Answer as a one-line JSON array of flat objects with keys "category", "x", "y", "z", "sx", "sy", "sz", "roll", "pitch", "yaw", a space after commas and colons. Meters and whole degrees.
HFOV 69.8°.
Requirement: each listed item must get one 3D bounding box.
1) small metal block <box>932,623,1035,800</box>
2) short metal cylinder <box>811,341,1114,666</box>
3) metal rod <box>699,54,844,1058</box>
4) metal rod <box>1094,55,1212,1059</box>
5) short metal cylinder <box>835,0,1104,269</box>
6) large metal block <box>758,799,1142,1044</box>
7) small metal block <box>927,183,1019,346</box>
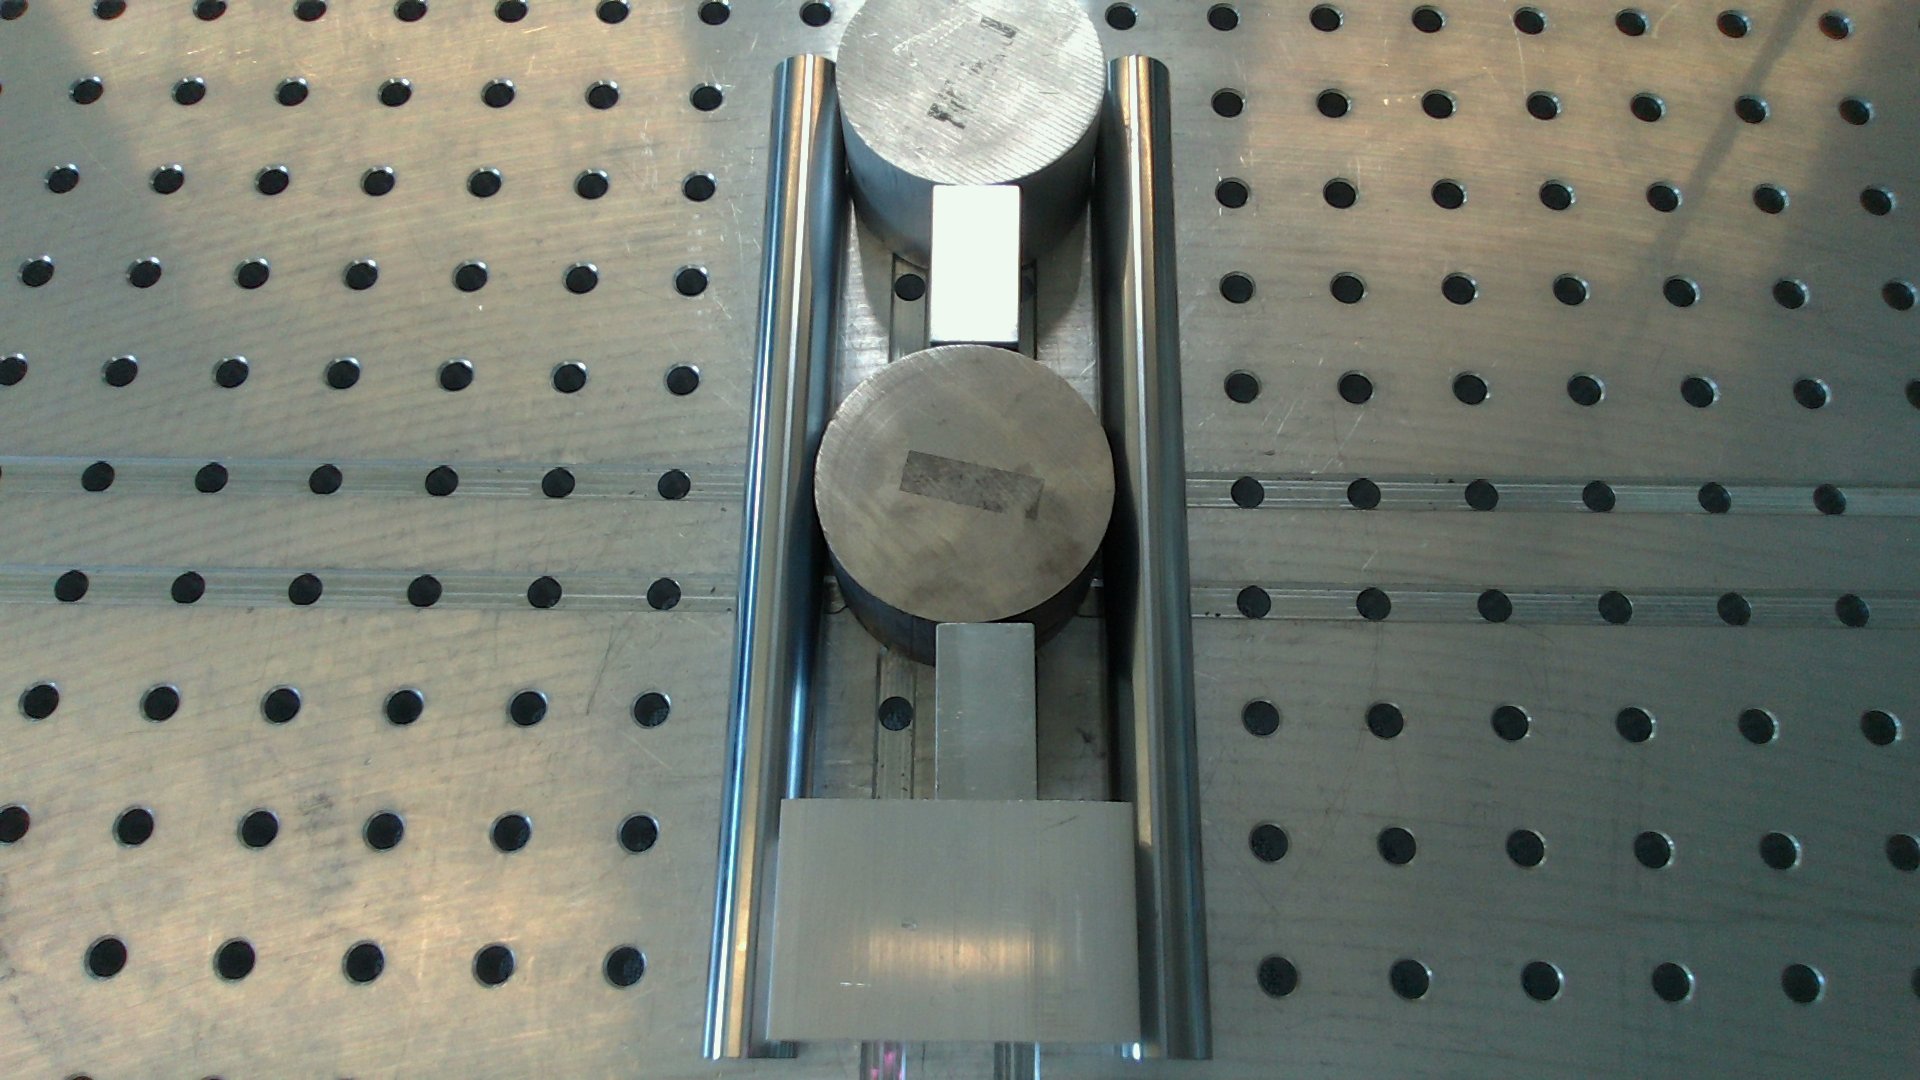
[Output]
[{"category": "small metal block", "x": 0.006, "y": 0.053, "z": 0.363, "sx": 0.025, "sy": 0.050, "sz": 0.050, "roll": 0, "pitch": 70, "yaw": 0}, {"category": "short metal cylinder", "x": 0.001, "y": -0.008, "z": 0.387, "sx": 0.080, "sy": 0.050, "sz": 0.080, "roll": 0, "pitch": 70, "yaw": 0}, {"category": "metal rod", "x": -0.051, "y": -0.010, "z": 0.400, "sx": 0.025, "sy": 0.025, "sz": 0.300, "roll": 1, "pitch": 70, "yaw": 0}, {"category": "metal rod", "x": 0.054, "y": -0.010, "z": 0.400, "sx": 0.025, "sy": 0.025, "sz": 0.300, "roll": 1, "pitch": 70, "yaw": 0}, {"category": "short metal cylinder", "x": 0.003, "y": -0.131, "z": 0.431, "sx": 0.080, "sy": 0.050, "sz": 0.080, "roll": 0, "pitch": 70, "yaw": 0}, {"category": "large metal block", "x": -0.002, "y": 0.095, "z": 0.333, "sx": 0.080, "sy": 0.080, "sz": 0.050, "roll": 1, "pitch": 70, "yaw": 0}, {"category": "small metal block", "x": 0.004, "y": -0.070, "z": 0.408, "sx": 0.025, "sy": 0.050, "sz": 0.050, "roll": 1, "pitch": 70, "yaw": 0}]
